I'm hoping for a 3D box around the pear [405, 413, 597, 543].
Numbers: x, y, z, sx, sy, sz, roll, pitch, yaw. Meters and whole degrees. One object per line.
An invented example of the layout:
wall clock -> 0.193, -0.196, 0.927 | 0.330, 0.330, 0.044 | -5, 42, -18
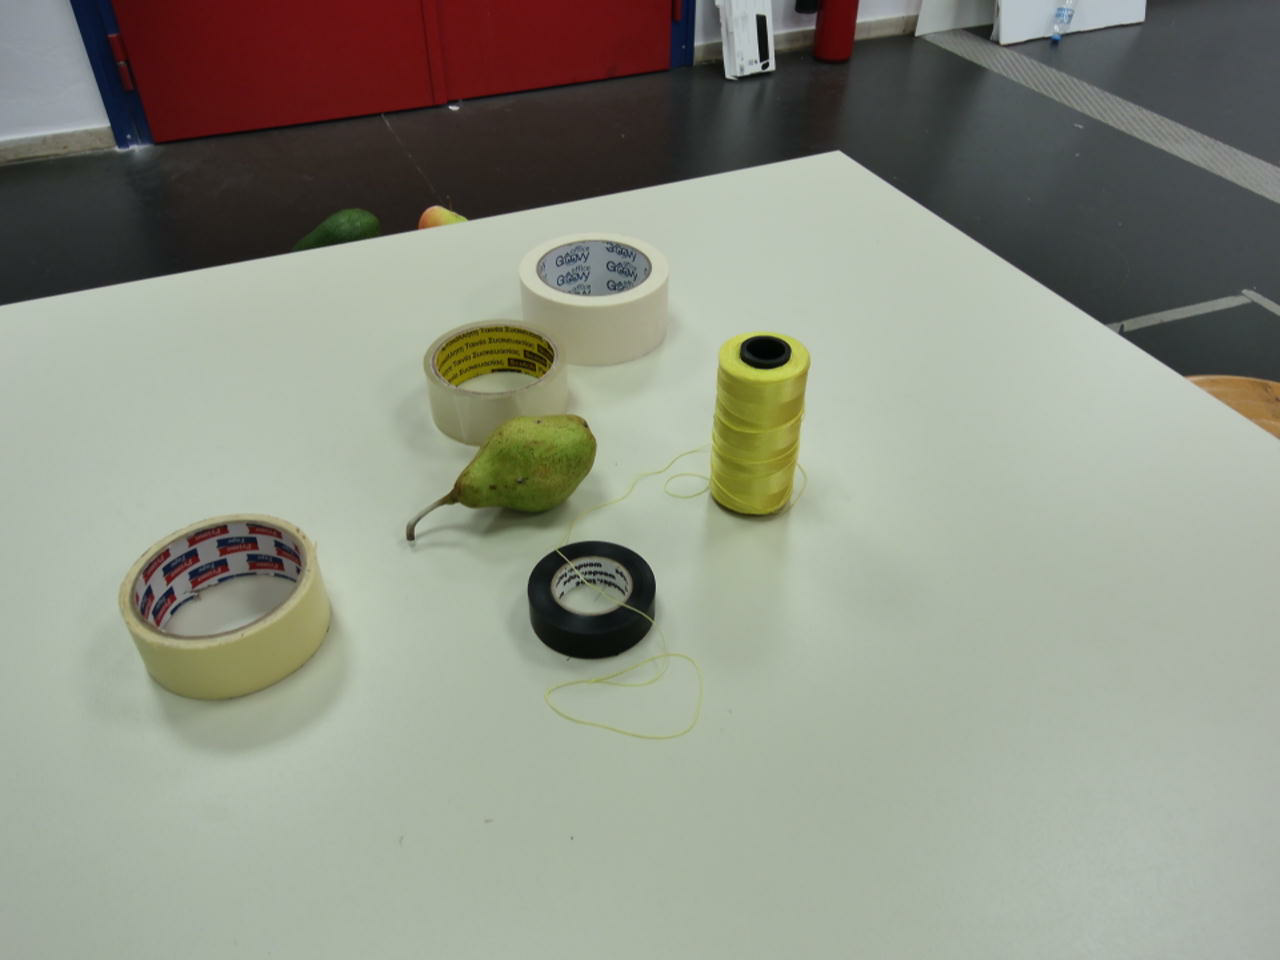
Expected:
pear -> -0.079, -0.008, 0.564 | 0.111, 0.056, 0.056 | -6, 39, -8
